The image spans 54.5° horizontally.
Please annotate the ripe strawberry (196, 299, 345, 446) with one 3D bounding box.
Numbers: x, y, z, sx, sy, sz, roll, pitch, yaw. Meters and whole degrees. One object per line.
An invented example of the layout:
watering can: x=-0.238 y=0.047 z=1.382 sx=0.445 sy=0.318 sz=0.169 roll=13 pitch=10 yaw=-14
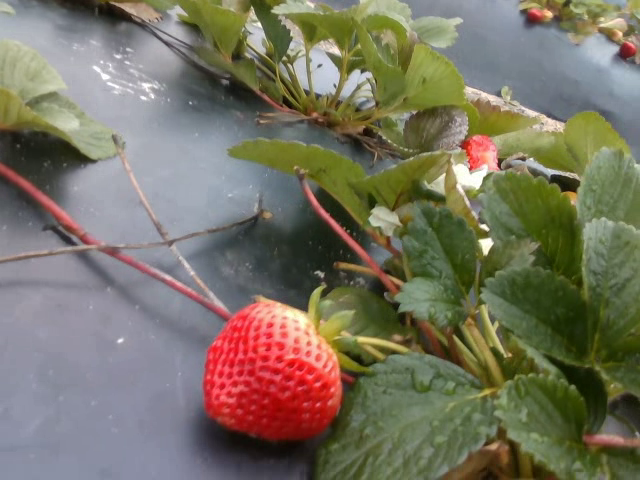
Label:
ripe strawberry: x=-0.022 y=0.049 z=0.236 sx=0.064 sy=0.062 sz=0.050 roll=-40 pitch=-11 yaw=-22
